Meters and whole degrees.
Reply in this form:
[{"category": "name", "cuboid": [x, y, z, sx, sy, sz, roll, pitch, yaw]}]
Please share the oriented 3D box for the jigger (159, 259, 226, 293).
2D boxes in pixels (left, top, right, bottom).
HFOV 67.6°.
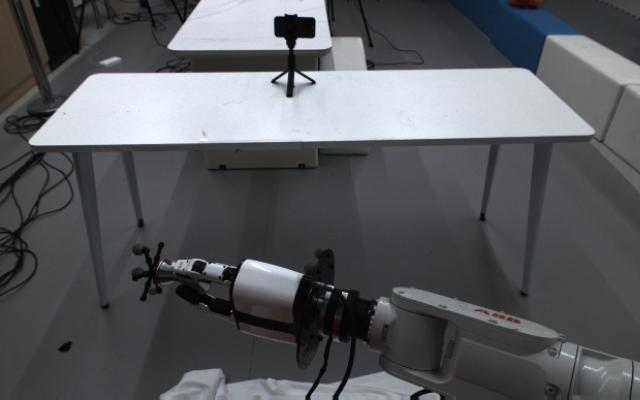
[{"category": "jigger", "cuboid": [-0.187, 0.106, 0.694, 0.071, 0.043, 0.043, 6, 35, 13]}]
